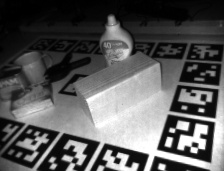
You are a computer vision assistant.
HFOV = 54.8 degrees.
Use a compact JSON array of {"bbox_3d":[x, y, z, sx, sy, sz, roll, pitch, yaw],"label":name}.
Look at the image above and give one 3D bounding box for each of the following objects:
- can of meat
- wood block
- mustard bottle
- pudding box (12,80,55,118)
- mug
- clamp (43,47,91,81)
[{"bbox_3d":[-0.313,-0.010,0.662,0.102,0.084,0.057,-15,41,0],"label":"can of meat"},{"bbox_3d":[0.020,0.000,0.560,0.207,0.092,0.088,-27,39,-18],"label":"wood block"},{"bbox_3d":[0.010,-0.113,0.608,0.095,0.193,0.058,2,44,21],"label":"mustard bottle"},{"bbox_3d":[-0.227,0.035,0.628,0.114,0.039,0.089,-19,40,-8],"label":"pudding box"},{"bbox_3d":[-0.256,-0.058,0.747,0.092,0.082,0.118,27,56,38],"label":"mug"},{"bbox_3d":[-0.166,-0.073,0.744,0.120,0.037,0.166,25,55,35],"label":"clamp"}]
